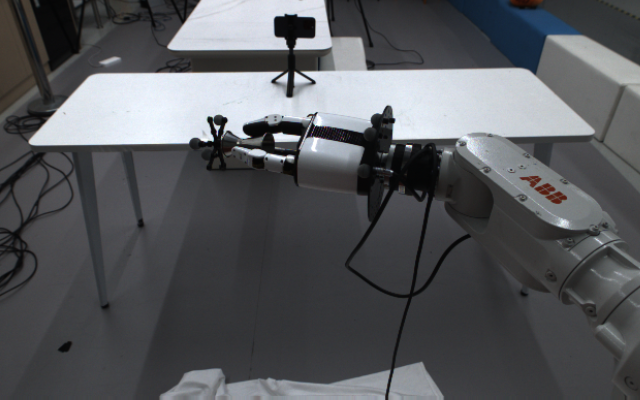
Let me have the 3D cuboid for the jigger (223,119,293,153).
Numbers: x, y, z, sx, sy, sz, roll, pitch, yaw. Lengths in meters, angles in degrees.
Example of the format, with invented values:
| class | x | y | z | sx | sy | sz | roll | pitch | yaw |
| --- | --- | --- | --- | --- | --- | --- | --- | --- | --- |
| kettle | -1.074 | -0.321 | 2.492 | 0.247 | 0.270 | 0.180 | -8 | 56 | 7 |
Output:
| class | x | y | z | sx | sy | sz | roll | pitch | yaw |
| --- | --- | --- | --- | --- | --- | --- | --- | --- | --- |
| jigger | -0.099 | -0.085 | 0.710 | 0.071 | 0.043 | 0.043 | 5 | 34 | 19 |
